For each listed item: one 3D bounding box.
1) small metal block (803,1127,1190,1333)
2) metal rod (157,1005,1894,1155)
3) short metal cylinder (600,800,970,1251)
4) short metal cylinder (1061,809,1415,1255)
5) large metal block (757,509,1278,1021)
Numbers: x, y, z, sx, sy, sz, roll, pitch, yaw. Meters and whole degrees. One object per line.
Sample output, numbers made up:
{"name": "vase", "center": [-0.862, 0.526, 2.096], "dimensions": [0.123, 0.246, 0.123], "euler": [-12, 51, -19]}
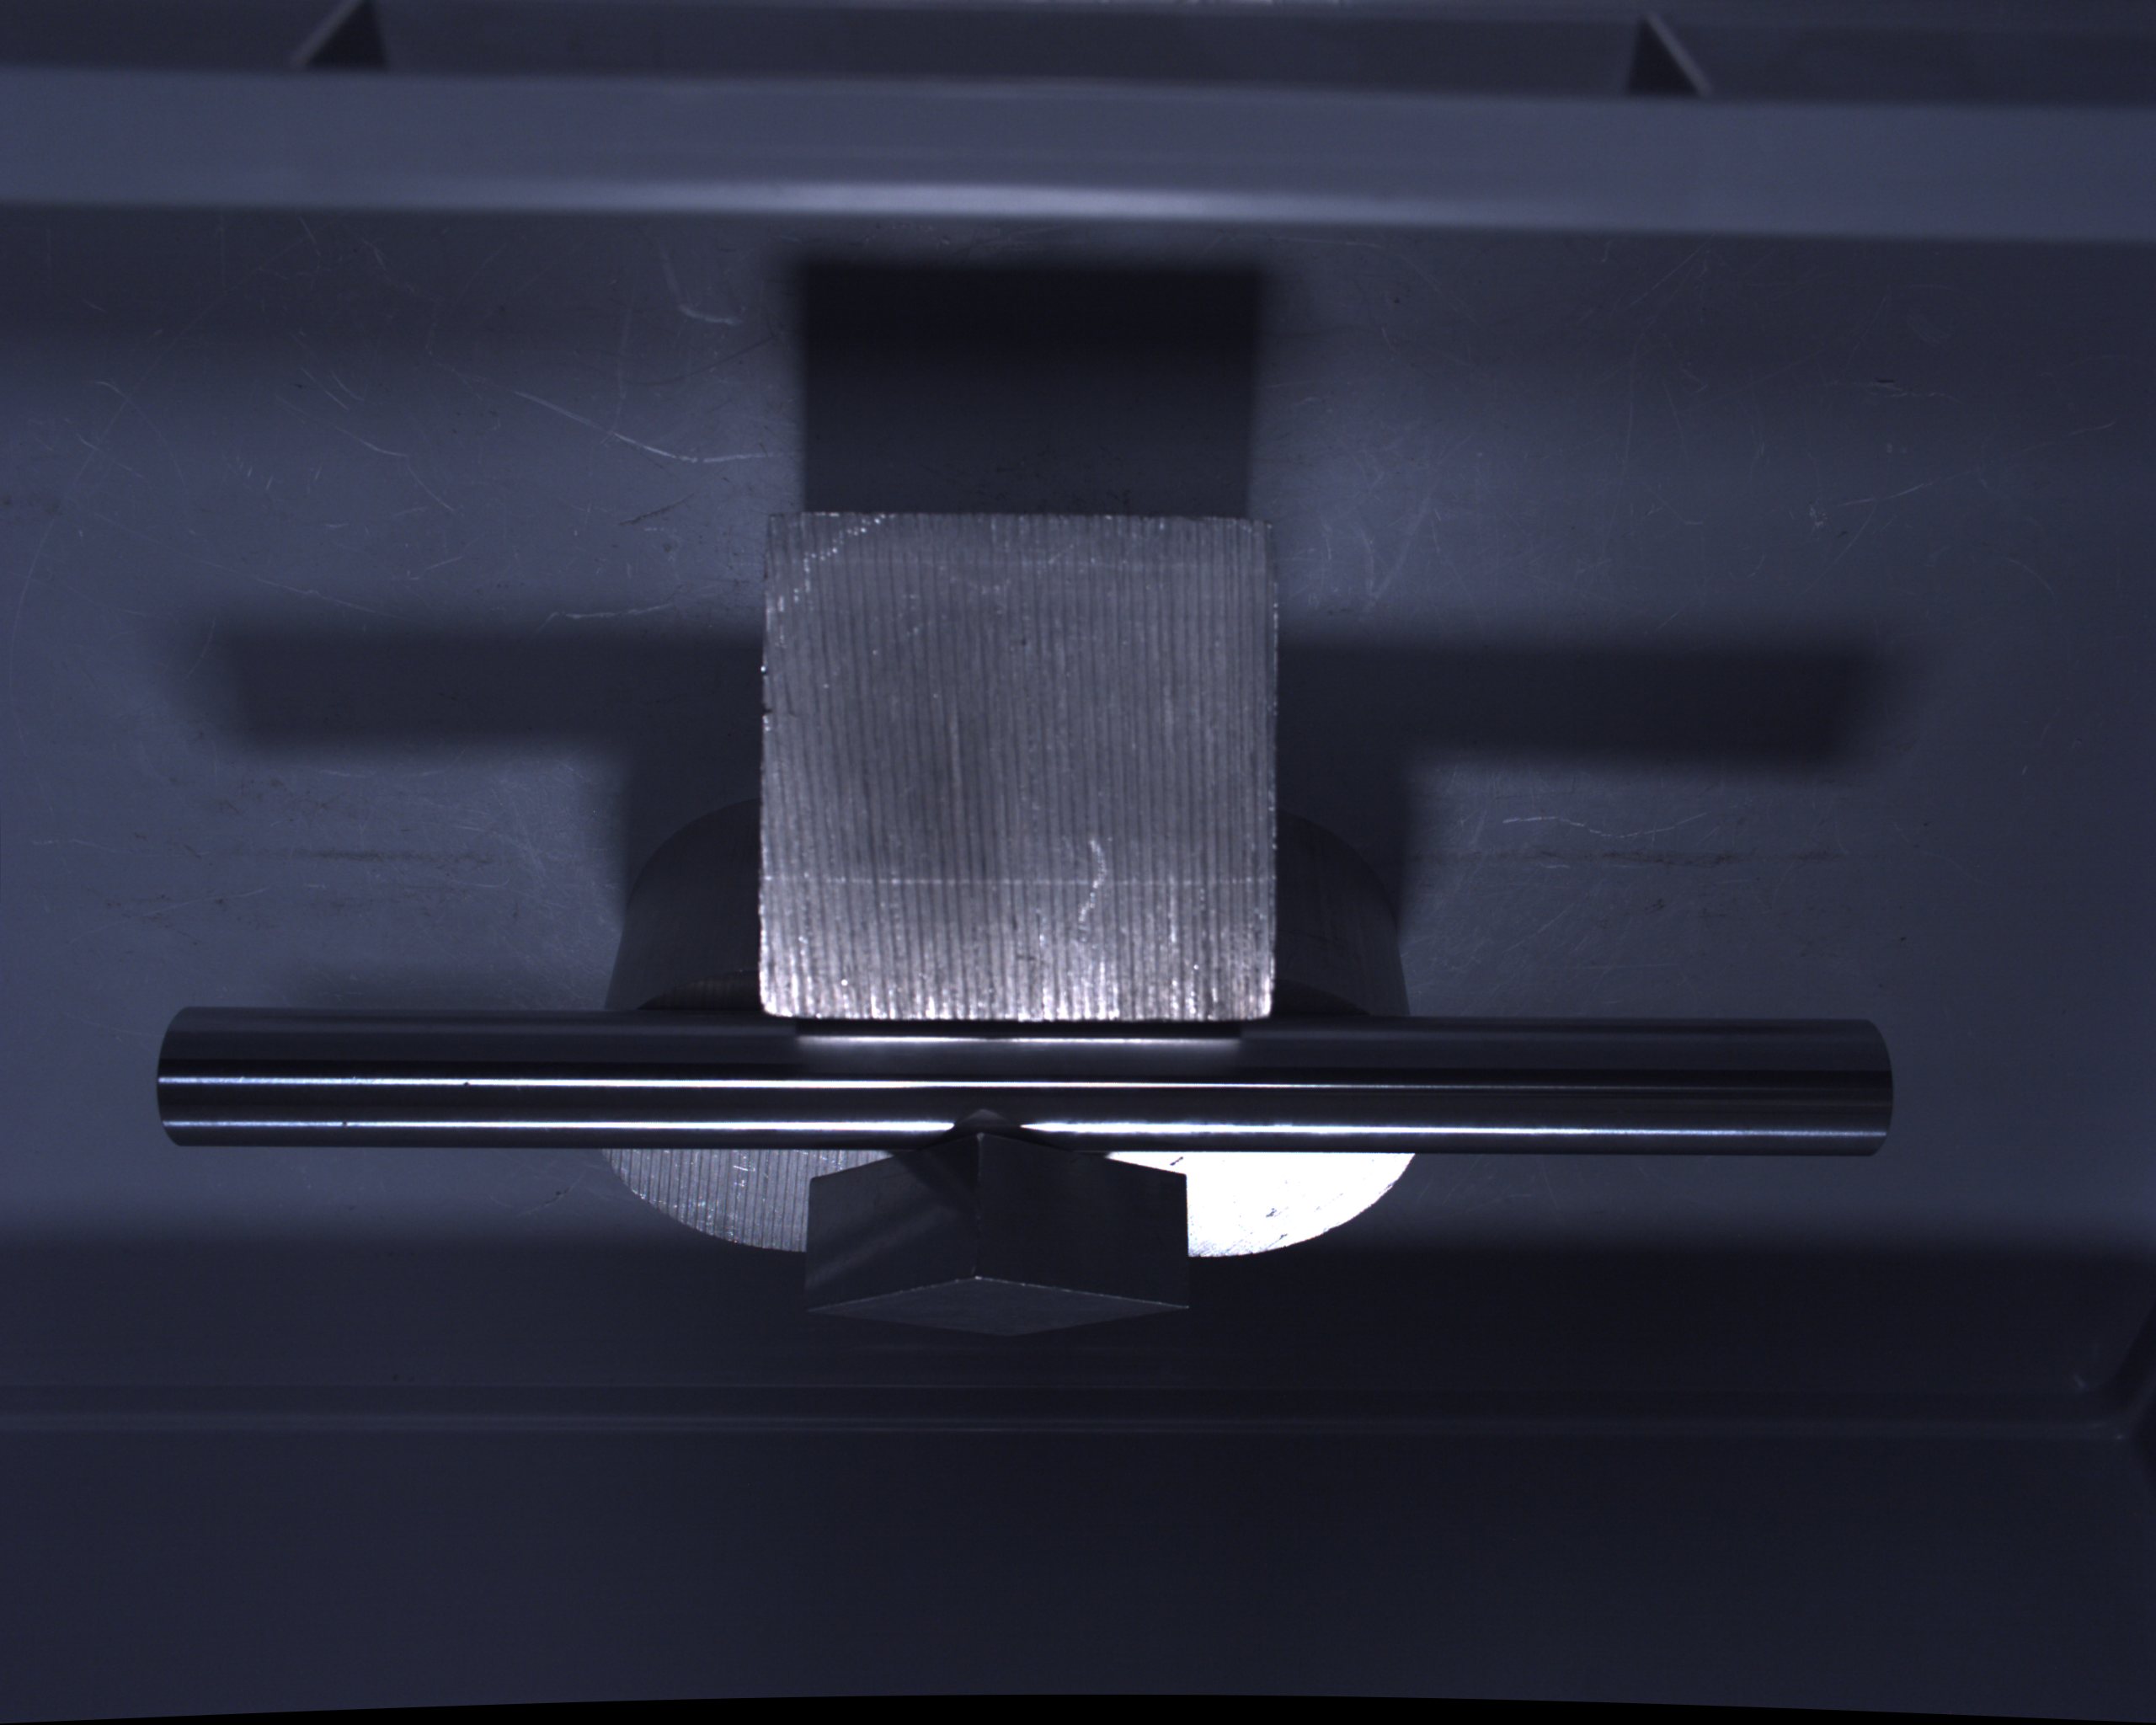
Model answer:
{"name": "small metal block", "center": [-0.015, 0.070, 0.387], "dimensions": [0.050, 0.025, 0.050], "euler": [18, 152, -39]}
{"name": "metal rod", "center": [-0.008, 0.039, 0.375], "dimensions": [0.302, 0.025, 0.025], "euler": [1, 130, -1]}
{"name": "short metal cylinder", "center": [-0.054, 0.033, 0.418], "dimensions": [0.081, 0.050, 0.079], "euler": [0, 130, 0]}
{"name": "short metal cylinder", "center": [0.027, 0.034, 0.421], "dimensions": [0.081, 0.050, 0.079], "euler": [0, 130, 0]}
{"name": "large metal block", "center": [-0.009, -0.014, 0.352], "dimensions": [0.081, 0.050, 0.080], "euler": [1, 87, -1]}
